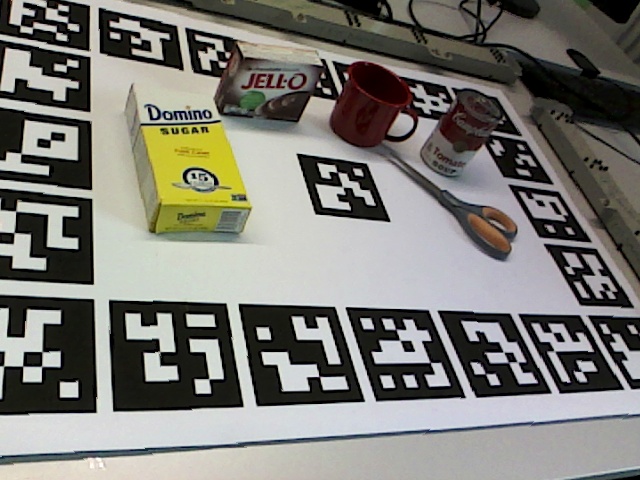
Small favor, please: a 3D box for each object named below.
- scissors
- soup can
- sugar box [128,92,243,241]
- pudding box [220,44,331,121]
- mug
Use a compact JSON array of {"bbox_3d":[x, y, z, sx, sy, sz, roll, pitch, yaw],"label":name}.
[{"bbox_3d":[0.176,-0.047,0.815,0.203,0.016,0.087,40,54,7],"label":"scissors"},{"bbox_3d":[0.187,-0.142,0.856,0.067,0.102,0.068,15,46,-16],"label":"soup can"},{"bbox_3d":[-0.145,-0.081,0.655,0.092,0.045,0.177,0,54,-26],"label":"sugar box"},{"bbox_3d":[-0.056,-0.192,0.760,0.113,0.090,0.039,-5,61,-32],"label":"pudding box"},{"bbox_3d":[0.074,-0.179,0.831,0.117,0.081,0.093,43,47,13],"label":"mug"}]
